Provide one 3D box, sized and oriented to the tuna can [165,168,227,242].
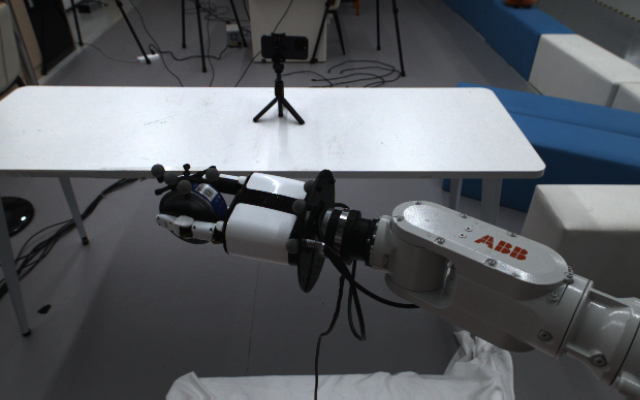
[{"bbox_3d":[-0.167,0.016,0.648,0.085,0.085,0.034,11,33,13],"label":"tuna can"}]
